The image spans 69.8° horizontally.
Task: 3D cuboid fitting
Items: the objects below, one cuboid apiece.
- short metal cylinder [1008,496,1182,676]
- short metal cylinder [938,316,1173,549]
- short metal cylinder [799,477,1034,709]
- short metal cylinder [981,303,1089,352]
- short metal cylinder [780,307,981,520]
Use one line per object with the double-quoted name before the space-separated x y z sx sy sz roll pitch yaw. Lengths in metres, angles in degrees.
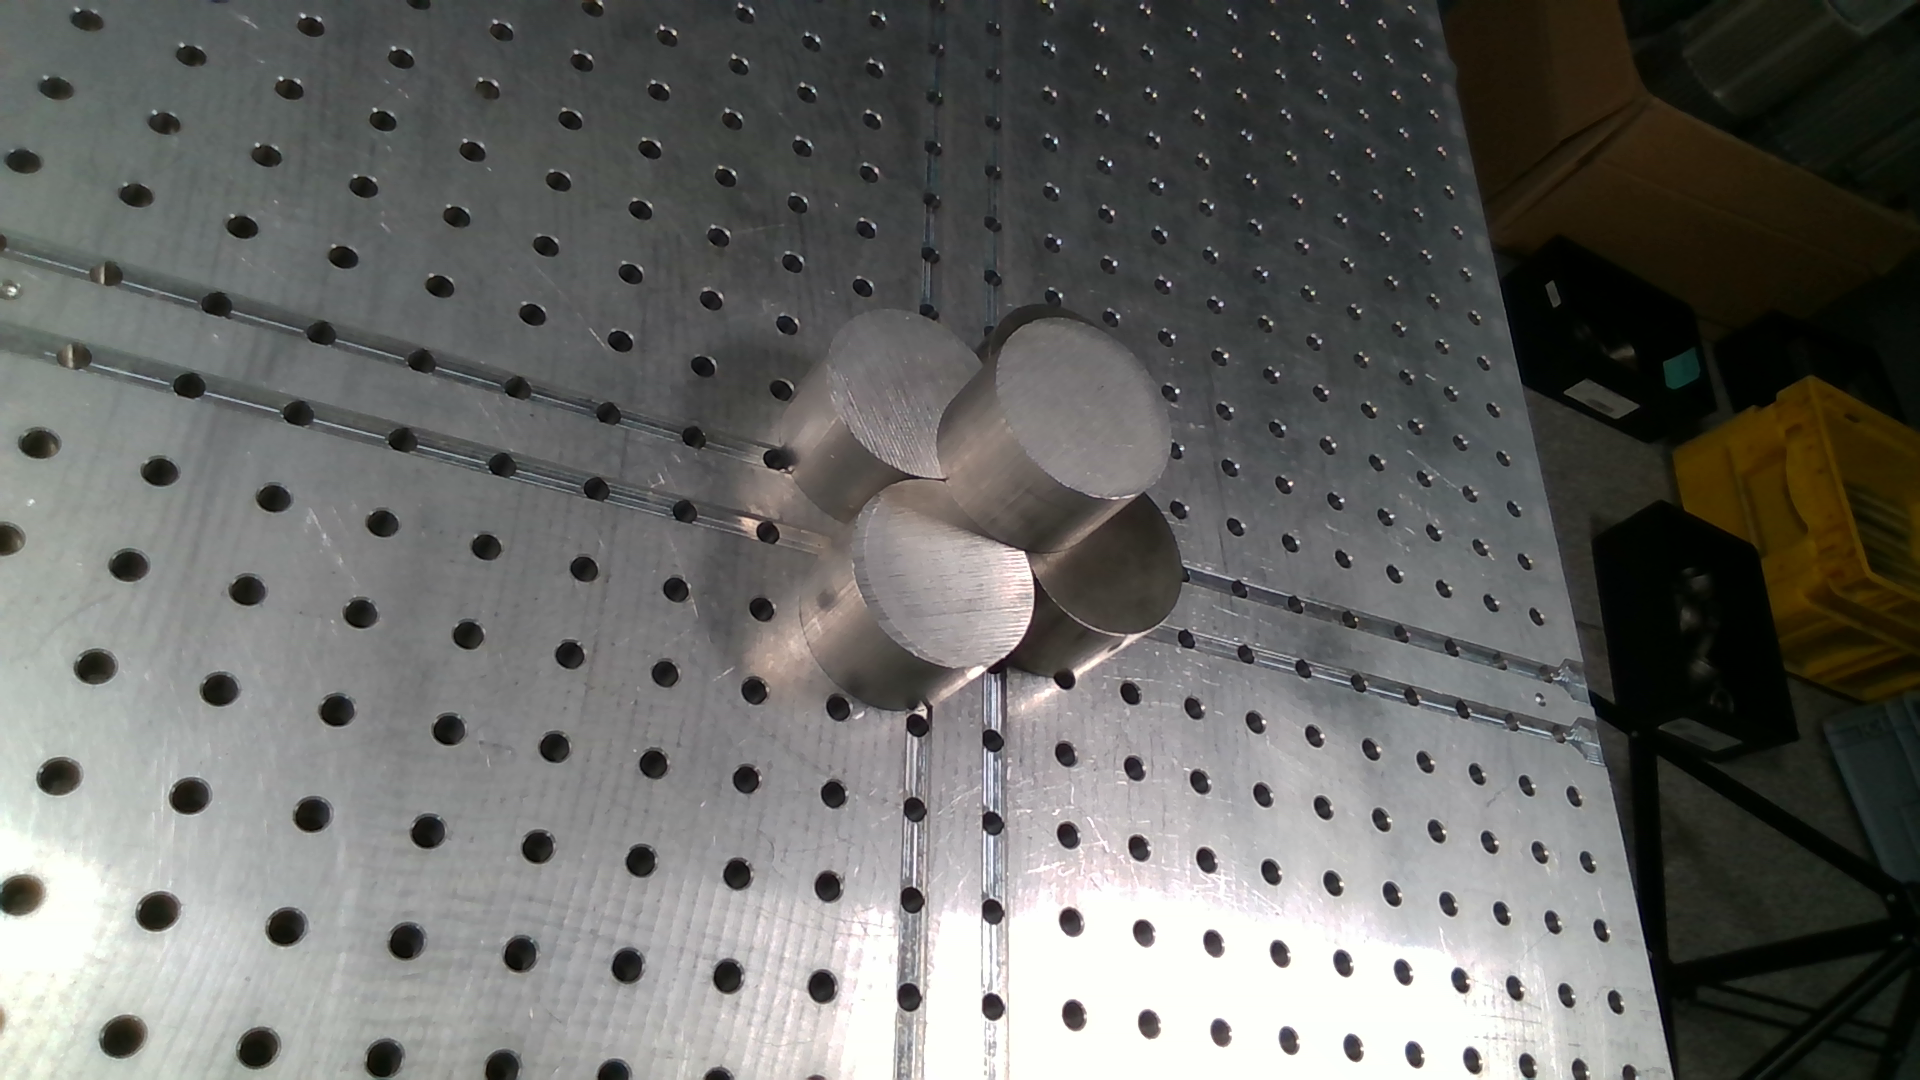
"short metal cylinder" 0.048 0.013 0.595 0.080 0.050 0.080 14 59 -25
"short metal cylinder" 0.038 -0.042 0.552 0.080 0.050 0.080 13 60 -24
"short metal cylinder" -0.018 0.022 0.550 0.080 0.050 0.080 14 59 -25
"short metal cylinder" 0.036 -0.060 0.626 0.080 0.050 0.080 14 59 -25
"short metal cylinder" -0.030 -0.050 0.581 0.080 0.050 0.080 14 59 -25
